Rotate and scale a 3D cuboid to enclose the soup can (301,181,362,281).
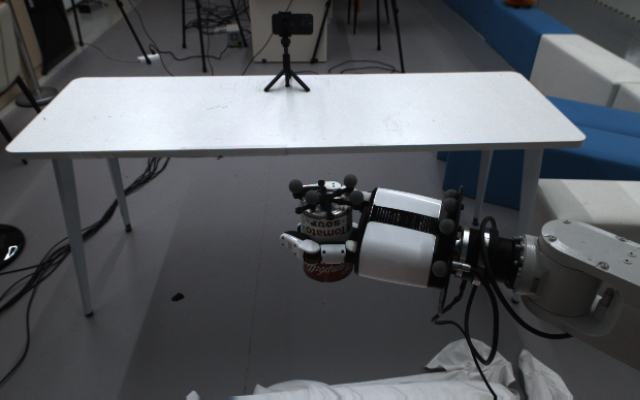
[{"bbox_3d":[0.011,0.045,0.621,0.067,0.101,0.067,-2,33,1],"label":"soup can"}]
